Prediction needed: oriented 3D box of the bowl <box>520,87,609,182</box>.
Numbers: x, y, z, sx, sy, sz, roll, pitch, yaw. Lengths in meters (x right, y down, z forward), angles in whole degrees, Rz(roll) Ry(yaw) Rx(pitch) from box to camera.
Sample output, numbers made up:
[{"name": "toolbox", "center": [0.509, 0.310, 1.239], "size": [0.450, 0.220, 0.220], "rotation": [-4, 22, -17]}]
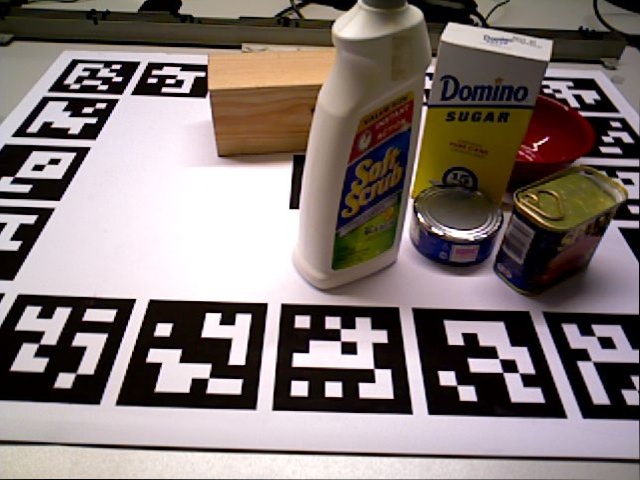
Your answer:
[{"name": "bowl", "center": [0.229, -0.114, 0.610], "size": [0.161, 0.056, 0.159], "rotation": [-2, 43, 1]}]

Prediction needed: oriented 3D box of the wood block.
[{"name": "wood block", "center": [-0.028, -0.162, 0.631], "size": [0.204, 0.092, 0.090], "rotation": [-4, 48, -8]}]

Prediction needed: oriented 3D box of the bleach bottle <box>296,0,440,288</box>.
[{"name": "bleach bottle", "center": [0.033, -0.079, 0.421], "size": [0.101, 0.256, 0.067], "rotation": [-17, 46, -20]}]

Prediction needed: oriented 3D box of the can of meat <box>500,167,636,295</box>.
[{"name": "can of meat", "center": [0.214, -0.008, 0.482], "size": [0.100, 0.085, 0.057], "rotation": [-19, 44, -24]}]

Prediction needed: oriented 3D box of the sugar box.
[{"name": "sugar box", "center": [0.153, -0.108, 0.507], "size": [0.093, 0.180, 0.044], "rotation": [14, 46, 17]}]

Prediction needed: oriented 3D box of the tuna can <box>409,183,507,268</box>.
[{"name": "tuna can", "center": [0.128, -0.014, 0.512], "size": [0.085, 0.034, 0.084], "rotation": [0, 46, -1]}]
